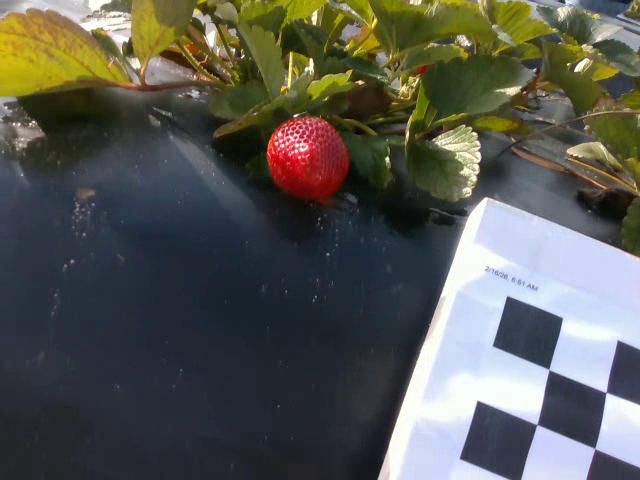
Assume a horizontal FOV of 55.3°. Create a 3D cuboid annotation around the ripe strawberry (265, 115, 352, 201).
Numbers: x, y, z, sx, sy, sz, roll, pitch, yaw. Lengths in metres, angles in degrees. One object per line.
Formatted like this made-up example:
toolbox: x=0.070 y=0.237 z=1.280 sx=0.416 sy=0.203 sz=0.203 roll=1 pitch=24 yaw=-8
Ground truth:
ripe strawberry: x=-0.003 y=-0.032 z=0.235 sx=0.041 sy=0.041 sz=0.047 roll=-8 pitch=12 yaw=1
